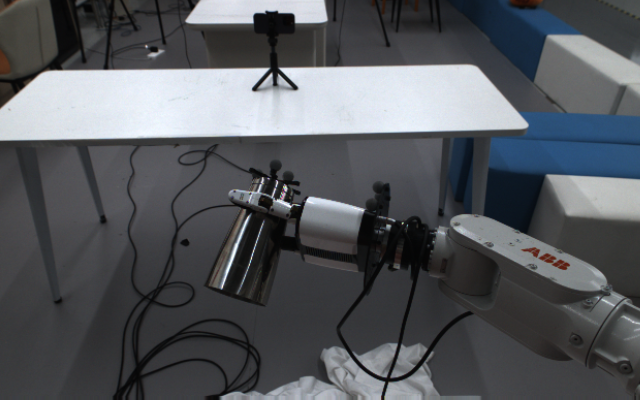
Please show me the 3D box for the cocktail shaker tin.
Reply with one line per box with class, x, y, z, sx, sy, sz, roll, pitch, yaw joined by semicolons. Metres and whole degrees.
cocktail shaker tin;-0.093;0.055;0.699;0.093;0.093;0.170;13;71;15
